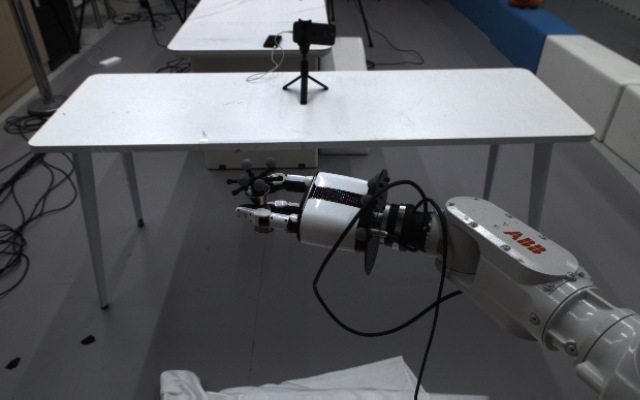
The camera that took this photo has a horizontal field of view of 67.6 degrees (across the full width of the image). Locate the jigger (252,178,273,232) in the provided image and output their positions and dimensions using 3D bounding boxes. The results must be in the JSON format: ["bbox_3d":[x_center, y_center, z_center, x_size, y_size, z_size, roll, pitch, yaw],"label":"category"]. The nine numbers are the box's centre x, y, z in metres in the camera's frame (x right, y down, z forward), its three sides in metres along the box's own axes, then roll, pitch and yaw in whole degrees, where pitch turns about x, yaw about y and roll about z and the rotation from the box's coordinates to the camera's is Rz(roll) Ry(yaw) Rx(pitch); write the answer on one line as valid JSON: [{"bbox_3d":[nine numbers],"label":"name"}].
[{"bbox_3d":[-0.089,0.011,0.758,0.043,0.071,0.043,-8,31,5],"label":"jigger"}]
